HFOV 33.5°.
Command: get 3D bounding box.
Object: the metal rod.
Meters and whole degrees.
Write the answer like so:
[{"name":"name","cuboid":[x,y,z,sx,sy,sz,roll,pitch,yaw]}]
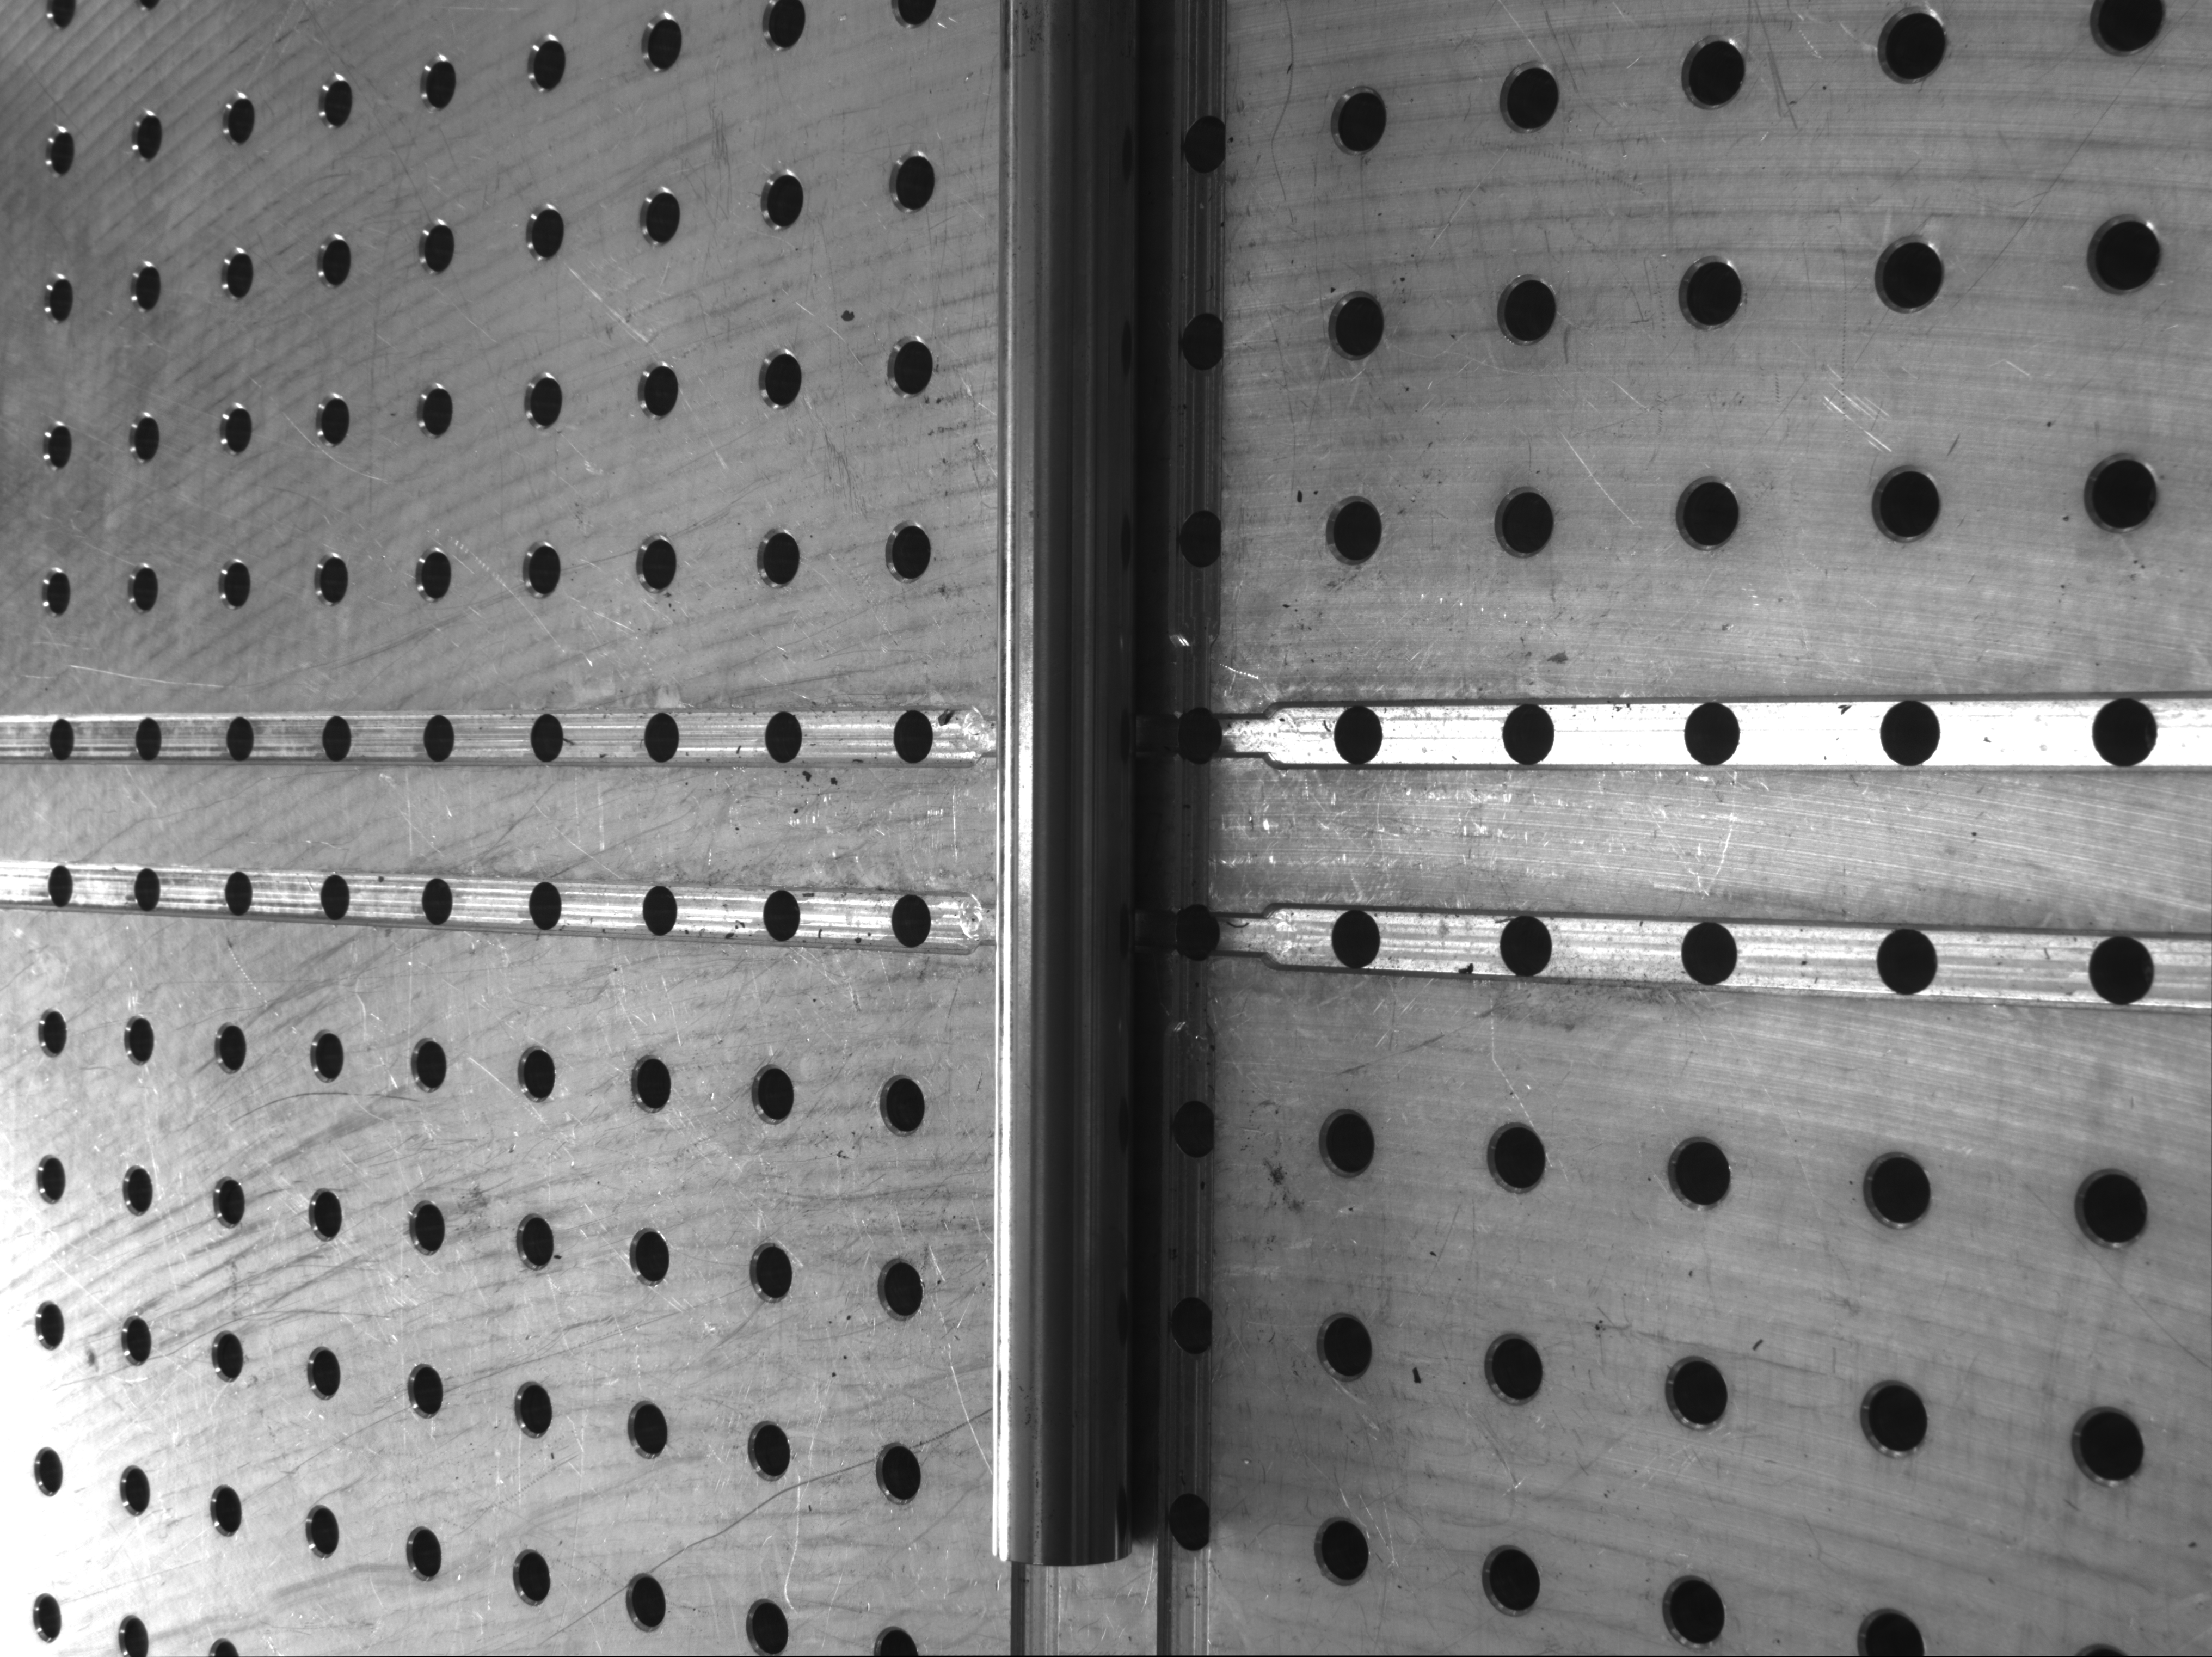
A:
[{"name":"metal rod","cuboid":[-0.007,-0.021,0.656,0.025,0.025,0.300,1,90,40]}]
